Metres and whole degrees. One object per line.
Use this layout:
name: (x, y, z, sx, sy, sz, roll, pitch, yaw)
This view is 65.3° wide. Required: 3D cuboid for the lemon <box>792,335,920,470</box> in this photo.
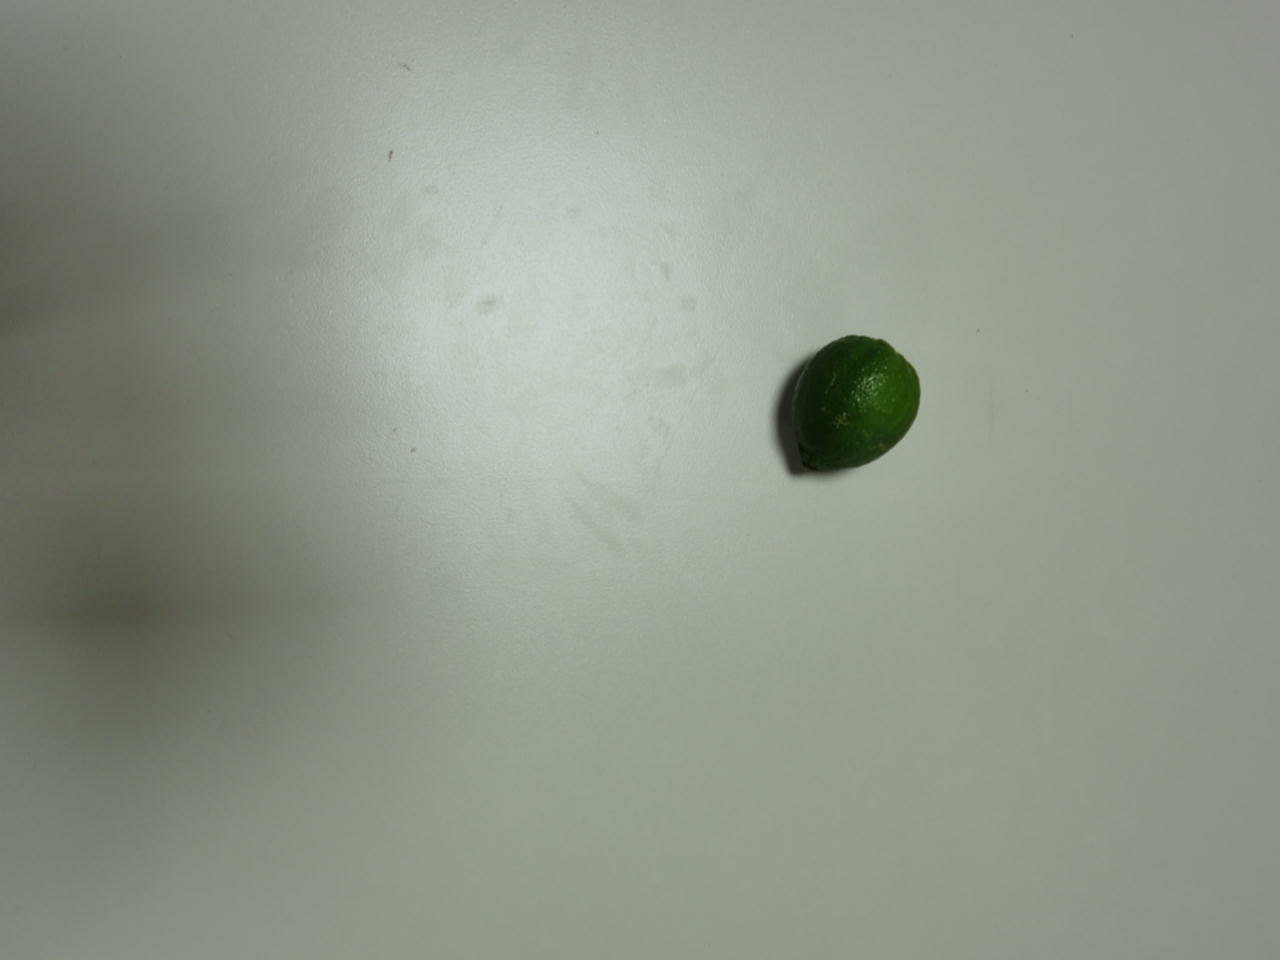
lemon: (0.093, -0.034, 0.434, 0.054, 0.051, 0.057, -5, 91, -11)
